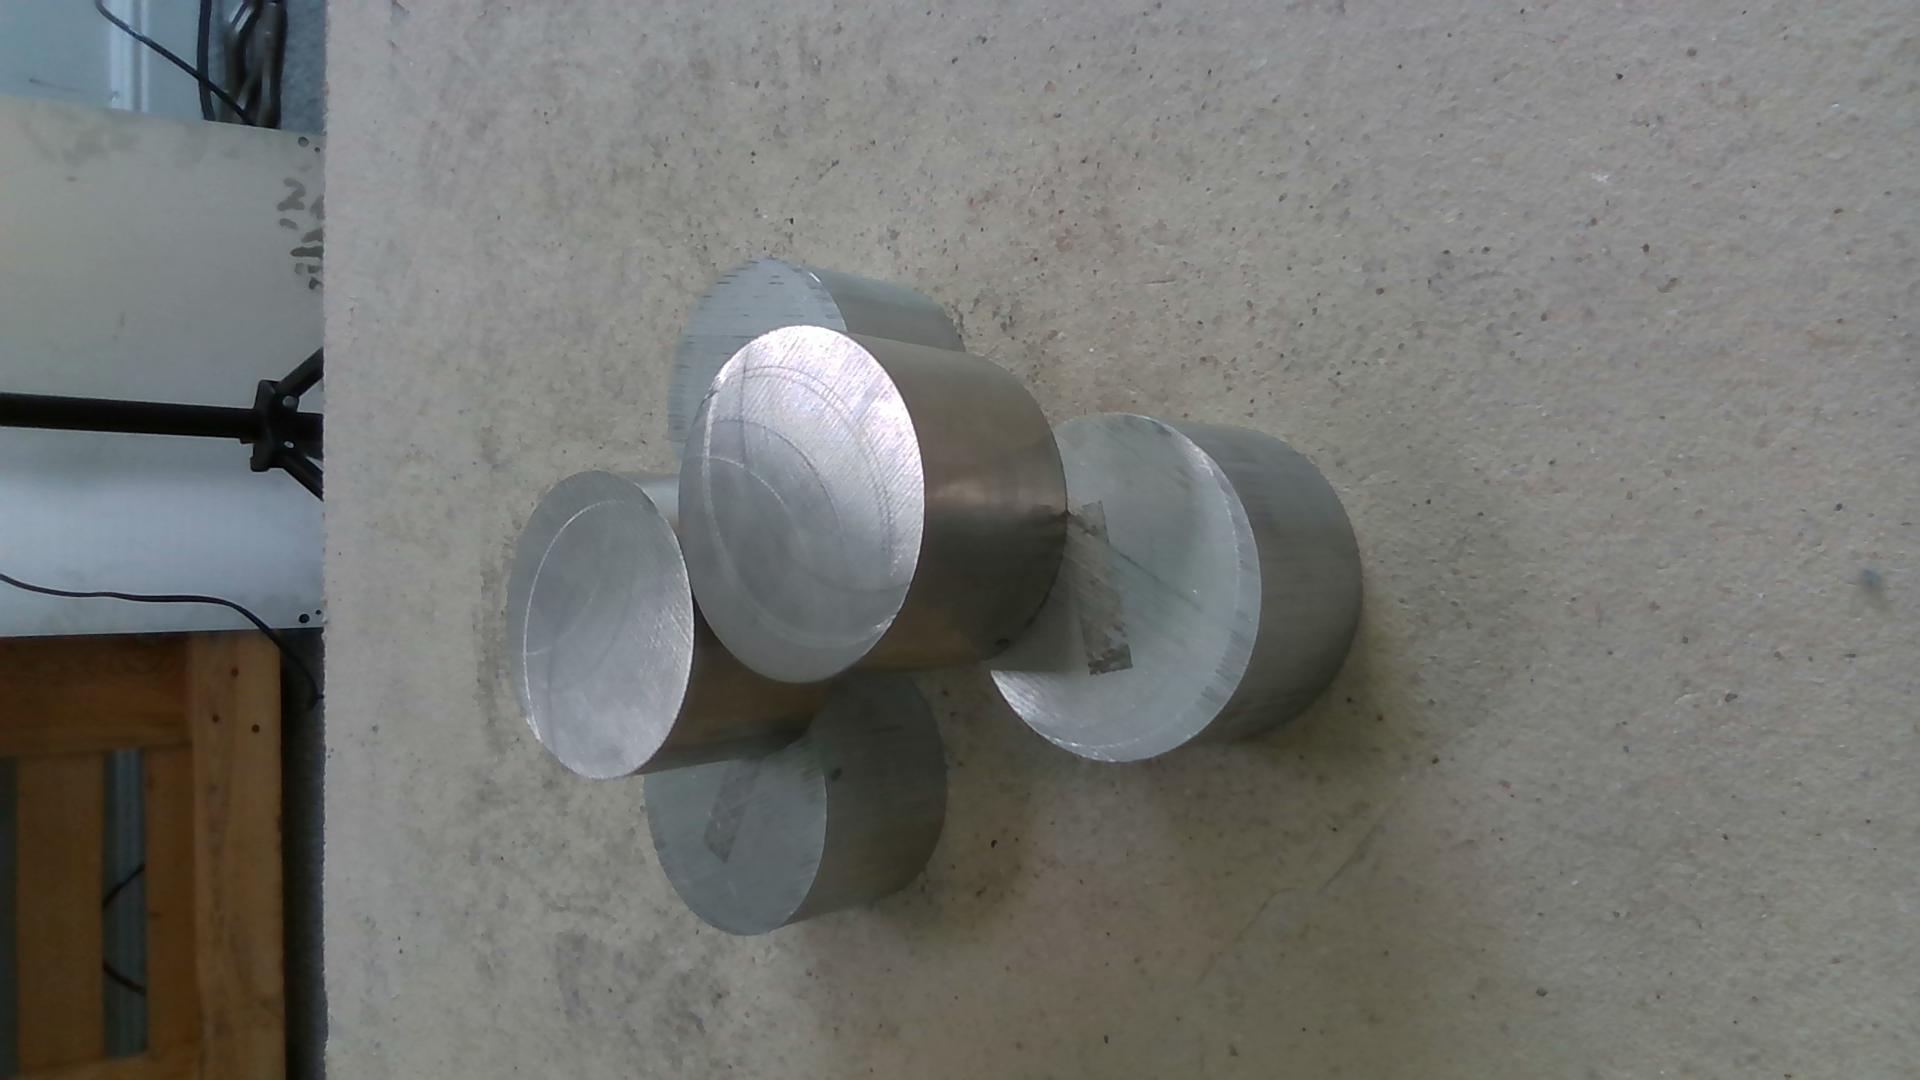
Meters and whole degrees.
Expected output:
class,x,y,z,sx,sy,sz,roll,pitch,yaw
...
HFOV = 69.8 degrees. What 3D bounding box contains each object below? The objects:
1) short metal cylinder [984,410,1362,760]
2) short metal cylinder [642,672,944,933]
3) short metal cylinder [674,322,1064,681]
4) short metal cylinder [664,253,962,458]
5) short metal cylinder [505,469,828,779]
class,x,y,z,sx,sy,sz,roll,pitch,yaw
short metal cylinder,0.049,0.010,0.334,0.080,0.050,0.080,0,91,40
short metal cylinder,-0.051,0.074,0.418,0.080,0.050,0.080,0,91,40
short metal cylinder,-0.023,-0.008,0.327,0.080,0.050,0.080,0,90,40
short metal cylinder,-0.043,-0.041,0.410,0.080,0.050,0.080,0,91,40
short metal cylinder,-0.080,0.022,0.375,0.080,0.050,0.080,1,91,40
